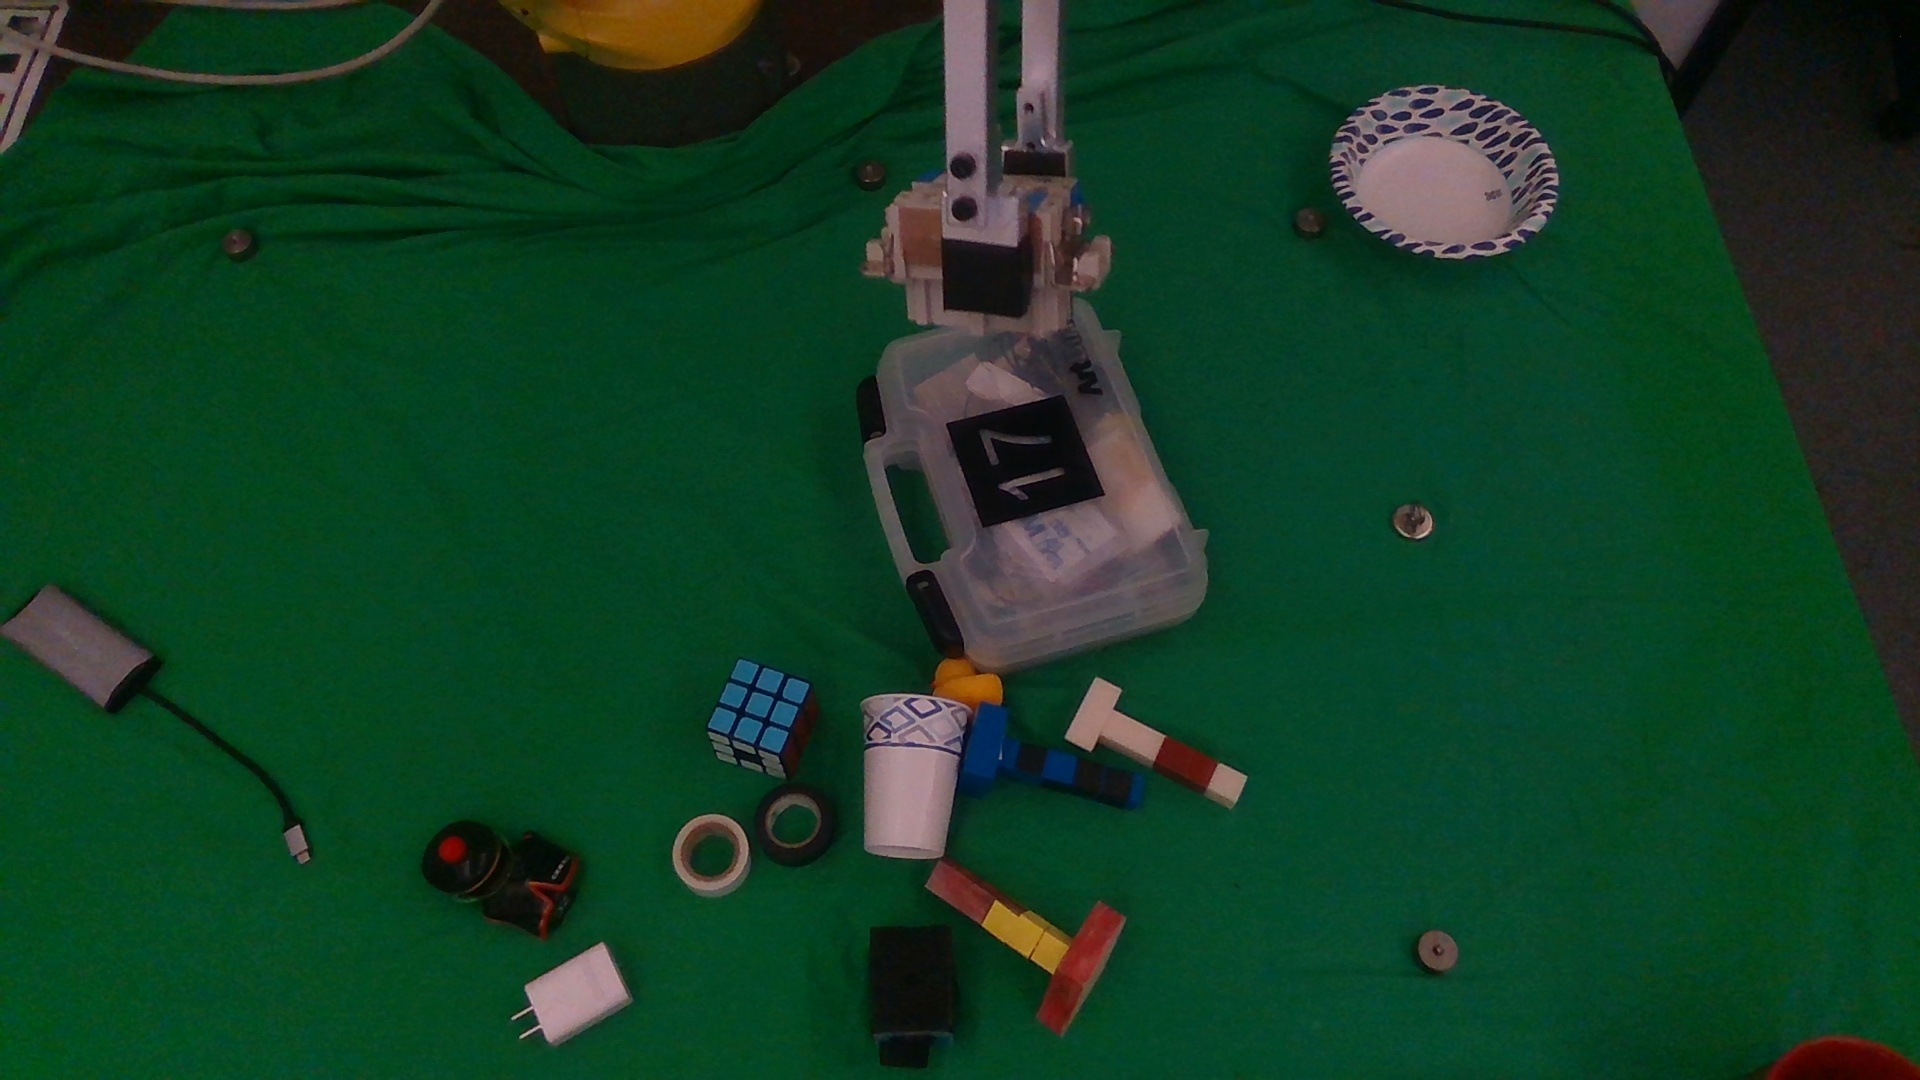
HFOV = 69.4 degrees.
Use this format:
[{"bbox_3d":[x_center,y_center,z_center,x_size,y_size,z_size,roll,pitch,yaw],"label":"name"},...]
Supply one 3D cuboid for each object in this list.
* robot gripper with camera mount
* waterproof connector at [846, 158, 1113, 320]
[{"bbox_3d":[-0.065,-0.141,0.342,0.194,0.158,0.119,5,24,13],"label":"robot gripper with camera mount"},{"bbox_3d":[0.005,-0.079,0.364,0.065,0.037,0.035,9,27,23],"label":"waterproof connector"}]
